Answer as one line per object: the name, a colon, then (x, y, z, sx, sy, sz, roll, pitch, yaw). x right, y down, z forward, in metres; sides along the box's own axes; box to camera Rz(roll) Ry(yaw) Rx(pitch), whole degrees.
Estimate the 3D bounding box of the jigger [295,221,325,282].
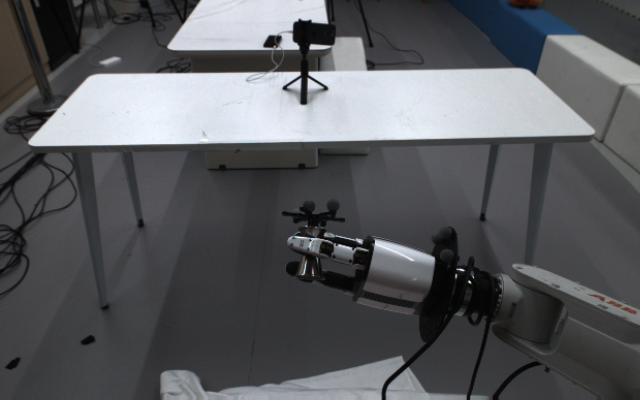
jigger: (-0.013, 0.071, 0.663, 0.043, 0.043, 0.071, 3, 75, 2)
